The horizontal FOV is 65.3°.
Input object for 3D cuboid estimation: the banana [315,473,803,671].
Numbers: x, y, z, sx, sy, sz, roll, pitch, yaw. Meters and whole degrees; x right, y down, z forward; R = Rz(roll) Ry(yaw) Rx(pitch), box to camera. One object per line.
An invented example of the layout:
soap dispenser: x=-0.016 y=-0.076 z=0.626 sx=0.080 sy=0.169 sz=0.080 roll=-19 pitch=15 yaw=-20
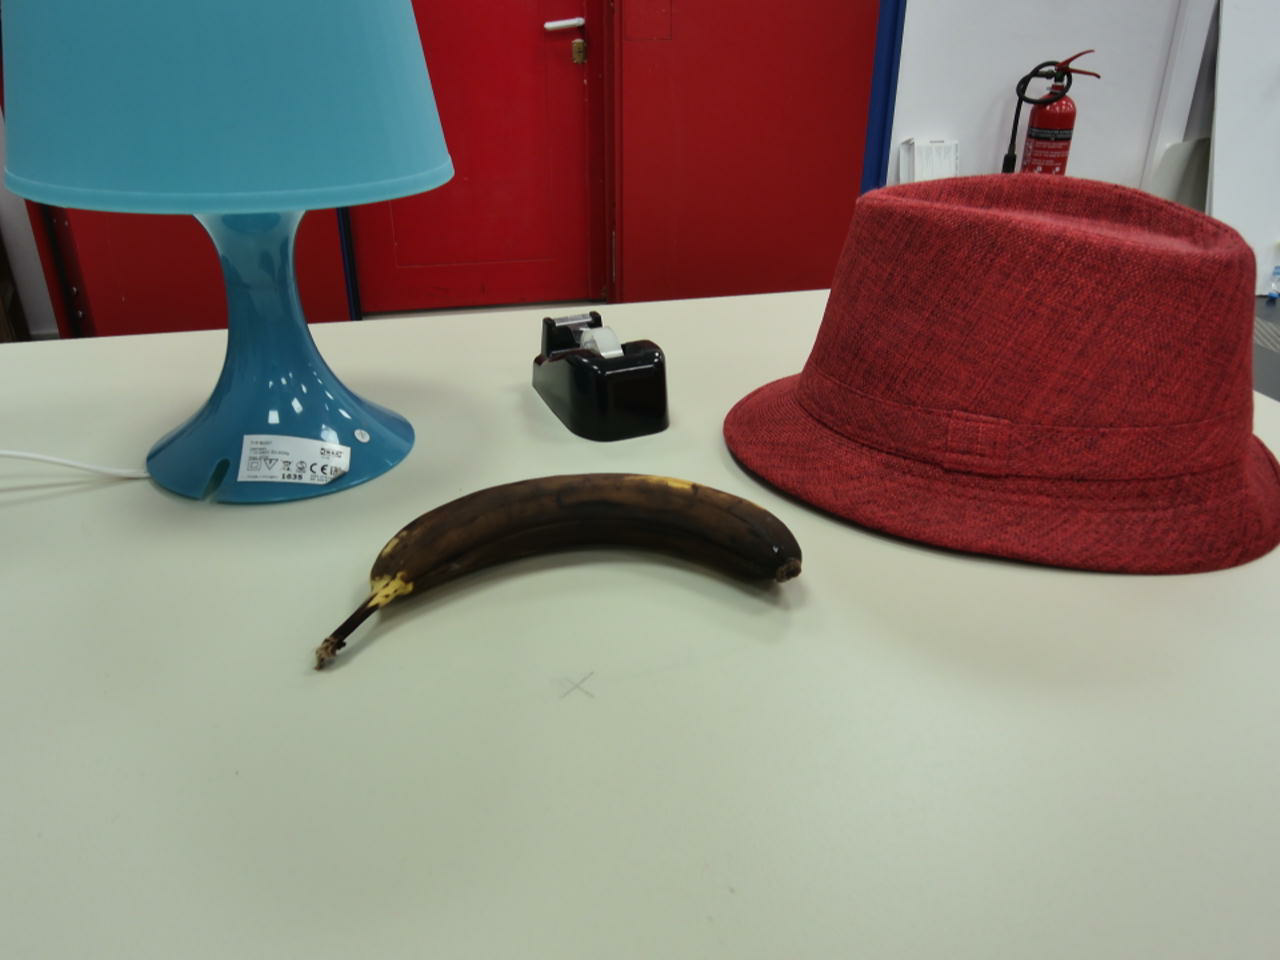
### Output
banana: x=-0.033 y=0.025 z=0.406 sx=0.188 sy=0.034 sz=0.091 roll=-6 pitch=25 yaw=-11
